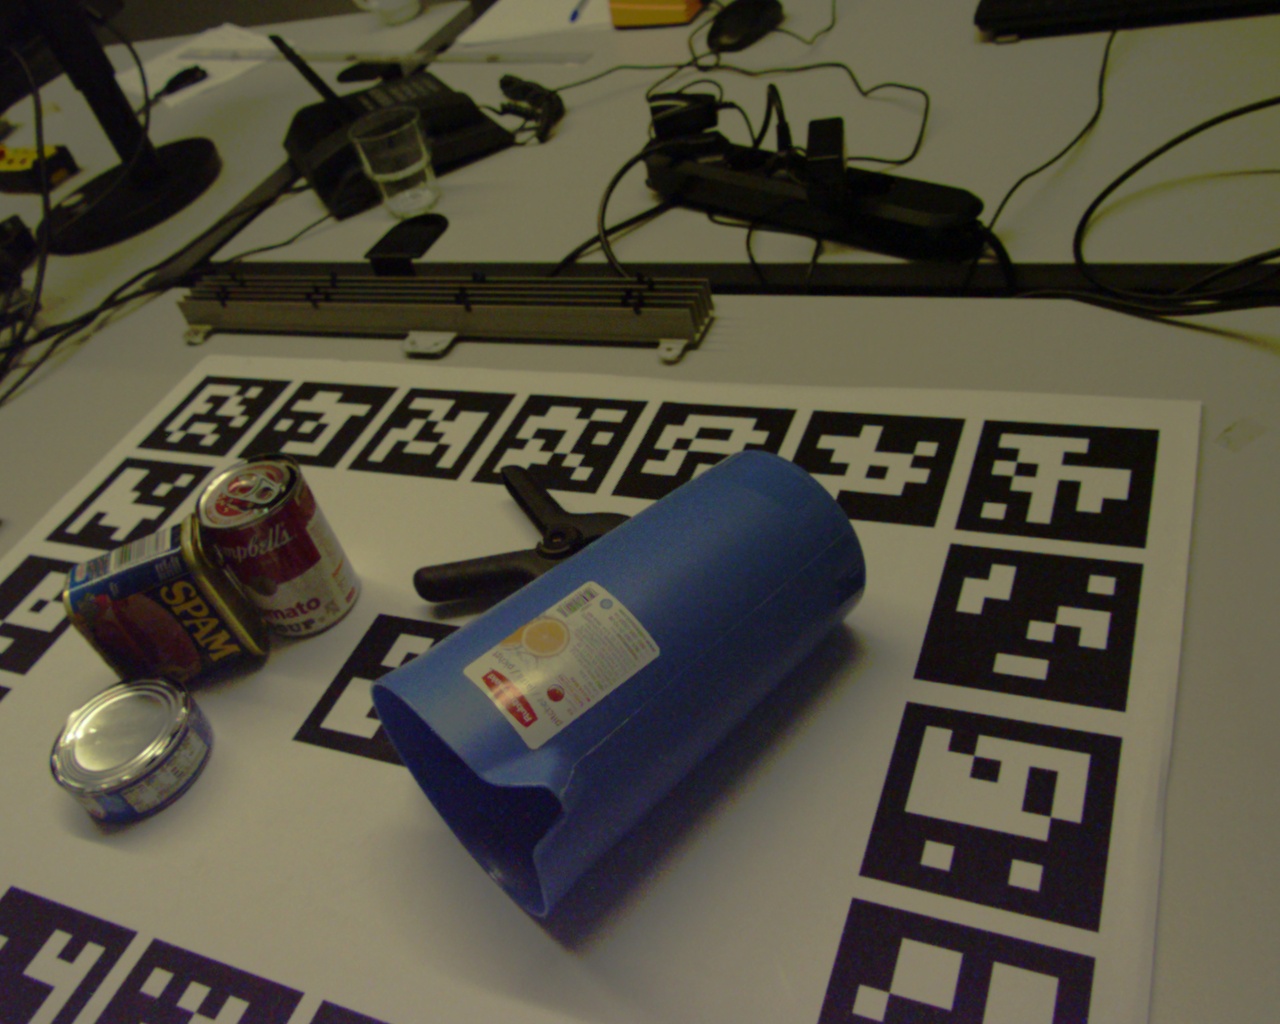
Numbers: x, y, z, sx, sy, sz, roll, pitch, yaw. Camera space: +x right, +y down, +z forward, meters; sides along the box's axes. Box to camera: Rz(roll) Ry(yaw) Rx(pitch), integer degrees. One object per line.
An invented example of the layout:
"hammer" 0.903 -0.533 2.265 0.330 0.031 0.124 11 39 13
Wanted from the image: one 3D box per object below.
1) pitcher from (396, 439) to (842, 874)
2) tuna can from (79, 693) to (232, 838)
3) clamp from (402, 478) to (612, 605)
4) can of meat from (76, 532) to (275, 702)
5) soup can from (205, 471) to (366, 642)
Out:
"pitcher" -0.007 0.065 0.624 0.240 0.132 0.191 -39 23 -31
"tuna can" -0.300 0.158 0.710 0.086 0.033 0.086 -11 43 10
"clamp" -0.066 0.026 0.780 0.167 0.036 0.121 6 43 21
"can of meat" -0.303 0.074 0.746 0.083 0.101 0.058 -25 42 -2
"soup can" -0.239 0.032 0.776 0.068 0.101 0.068 -13 42 11
